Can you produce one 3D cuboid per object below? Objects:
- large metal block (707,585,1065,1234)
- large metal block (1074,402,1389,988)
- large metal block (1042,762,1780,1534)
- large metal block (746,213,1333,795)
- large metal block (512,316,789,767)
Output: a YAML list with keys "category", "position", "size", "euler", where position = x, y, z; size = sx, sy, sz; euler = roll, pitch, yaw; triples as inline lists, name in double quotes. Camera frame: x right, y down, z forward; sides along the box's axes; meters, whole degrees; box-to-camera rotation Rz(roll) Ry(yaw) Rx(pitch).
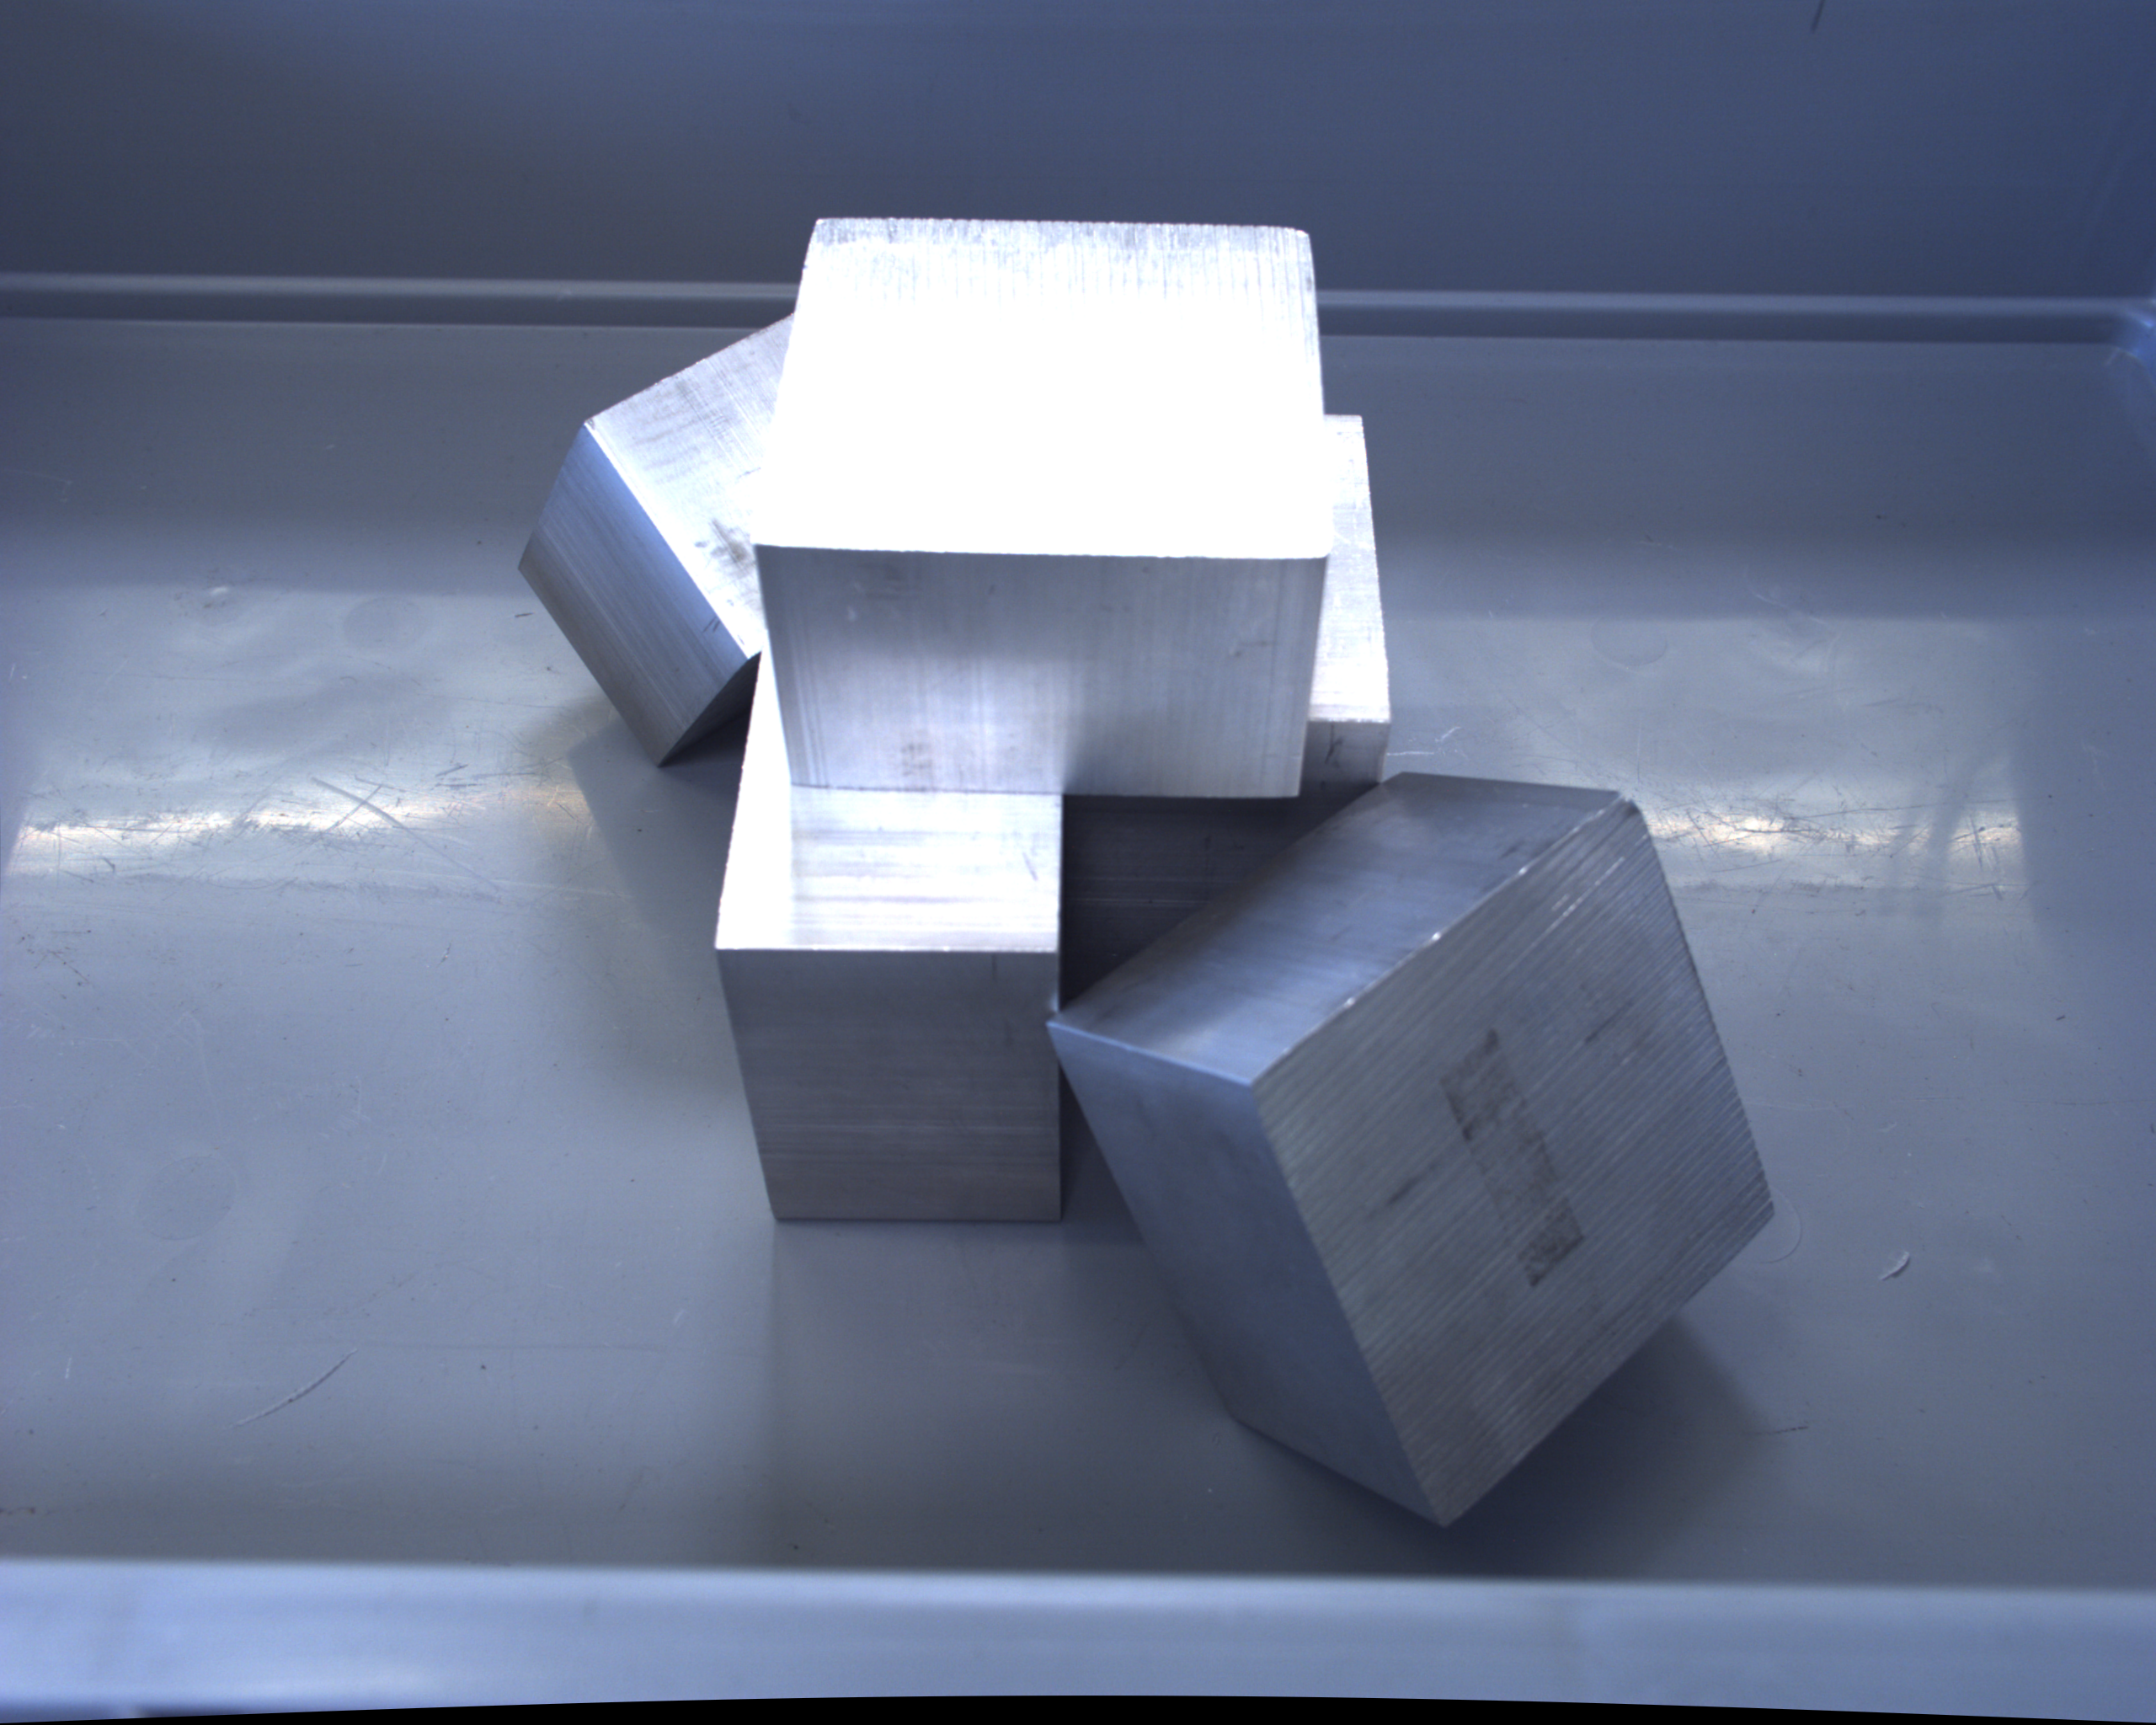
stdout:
- category: "large metal block"
  position: [-0.028, 0.009, 0.360]
  size: [0.050, 0.080, 0.080]
  euler: [1, 50, 0]
- category: "large metal block"
  position: [0.025, -0.030, 0.391]
  size: [0.050, 0.080, 0.080]
  euler: [1, 50, 0]
- category: "large metal block"
  position: [0.054, 0.040, 0.324]
  size: [0.080, 0.080, 0.050]
  euler: [-34, 23, -25]
- category: "large metal block"
  position: [-0.004, -0.058, 0.331]
  size: [0.080, 0.050, 0.080]
  euler: [1, 50, 1]
- category: "large metal block"
  position: [-0.058, -0.069, 0.415]
  size: [0.080, 0.080, 0.050]
  euler: [-35, 94, -26]
